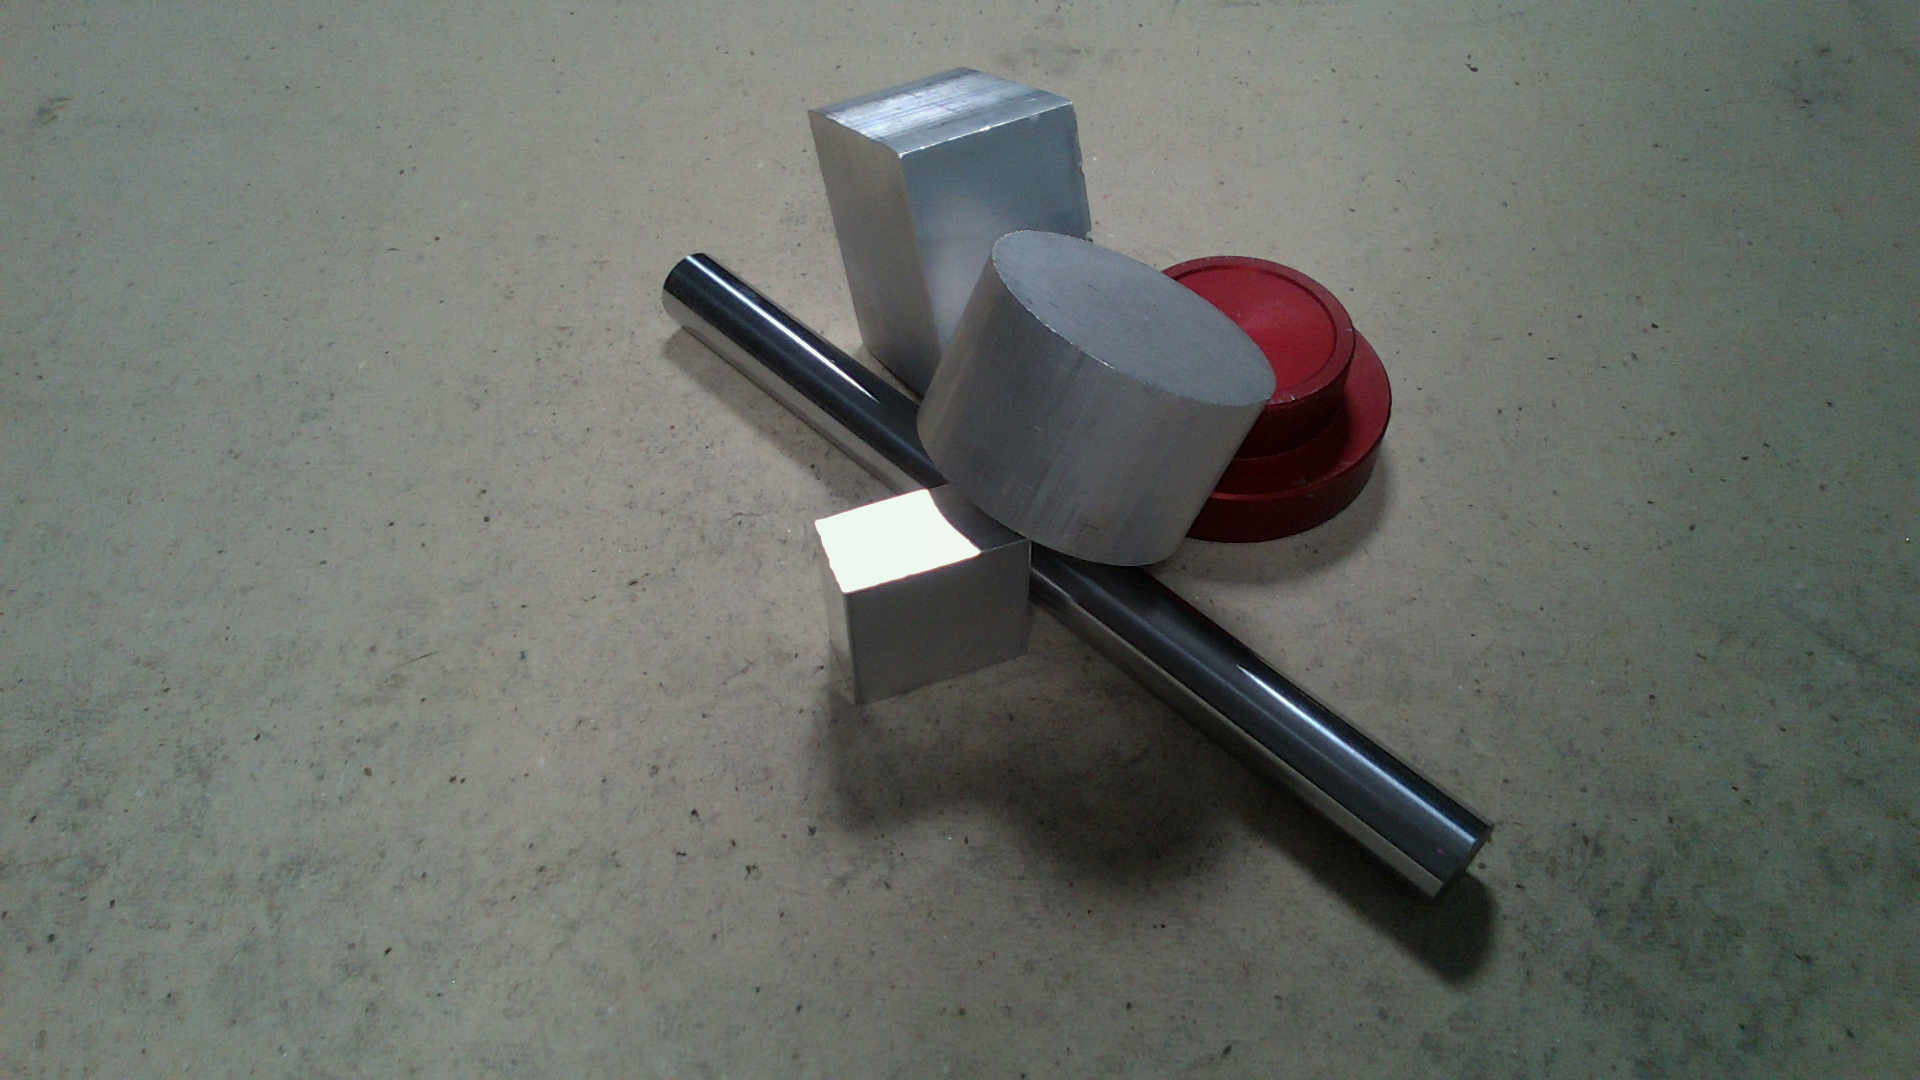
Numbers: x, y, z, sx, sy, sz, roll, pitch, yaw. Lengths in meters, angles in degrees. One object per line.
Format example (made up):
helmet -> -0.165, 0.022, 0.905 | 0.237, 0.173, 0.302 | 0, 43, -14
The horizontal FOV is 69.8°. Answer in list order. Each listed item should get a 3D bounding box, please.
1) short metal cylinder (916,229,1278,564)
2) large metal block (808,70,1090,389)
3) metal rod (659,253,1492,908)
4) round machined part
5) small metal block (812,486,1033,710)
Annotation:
short metal cylinder -> 0.035, -0.039, 0.359 | 0.080, 0.050, 0.080 | 19, 31, -12
large metal block -> -0.001, -0.092, 0.420 | 0.050, 0.080, 0.080 | -22, 31, -15
metal rod -> 0.014, -0.004, 0.396 | 0.025, 0.025, 0.299 | -37, 59, -27
round machined part -> 0.083, -0.050, 0.422 | 0.098, 0.042, 0.098 | 0, 50, 0
small metal block -> -0.009, 0.014, 0.365 | 0.050, 0.050, 0.025 | -16, 51, -14
